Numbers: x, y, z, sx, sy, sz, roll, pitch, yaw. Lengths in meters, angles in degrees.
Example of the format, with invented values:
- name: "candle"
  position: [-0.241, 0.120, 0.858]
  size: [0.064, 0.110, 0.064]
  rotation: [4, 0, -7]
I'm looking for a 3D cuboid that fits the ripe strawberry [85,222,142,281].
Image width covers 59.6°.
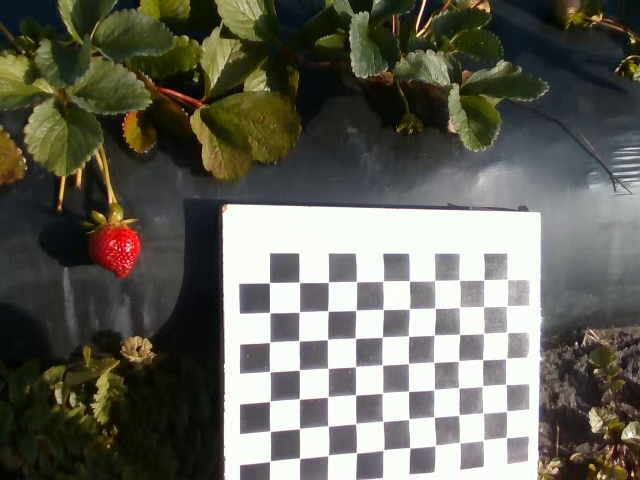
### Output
- name: "ripe strawberry"
  position: [-0.143, 0.010, 0.392]
  size: [0.040, 0.044, 0.037]
  rotation: [-20, -7, -14]
